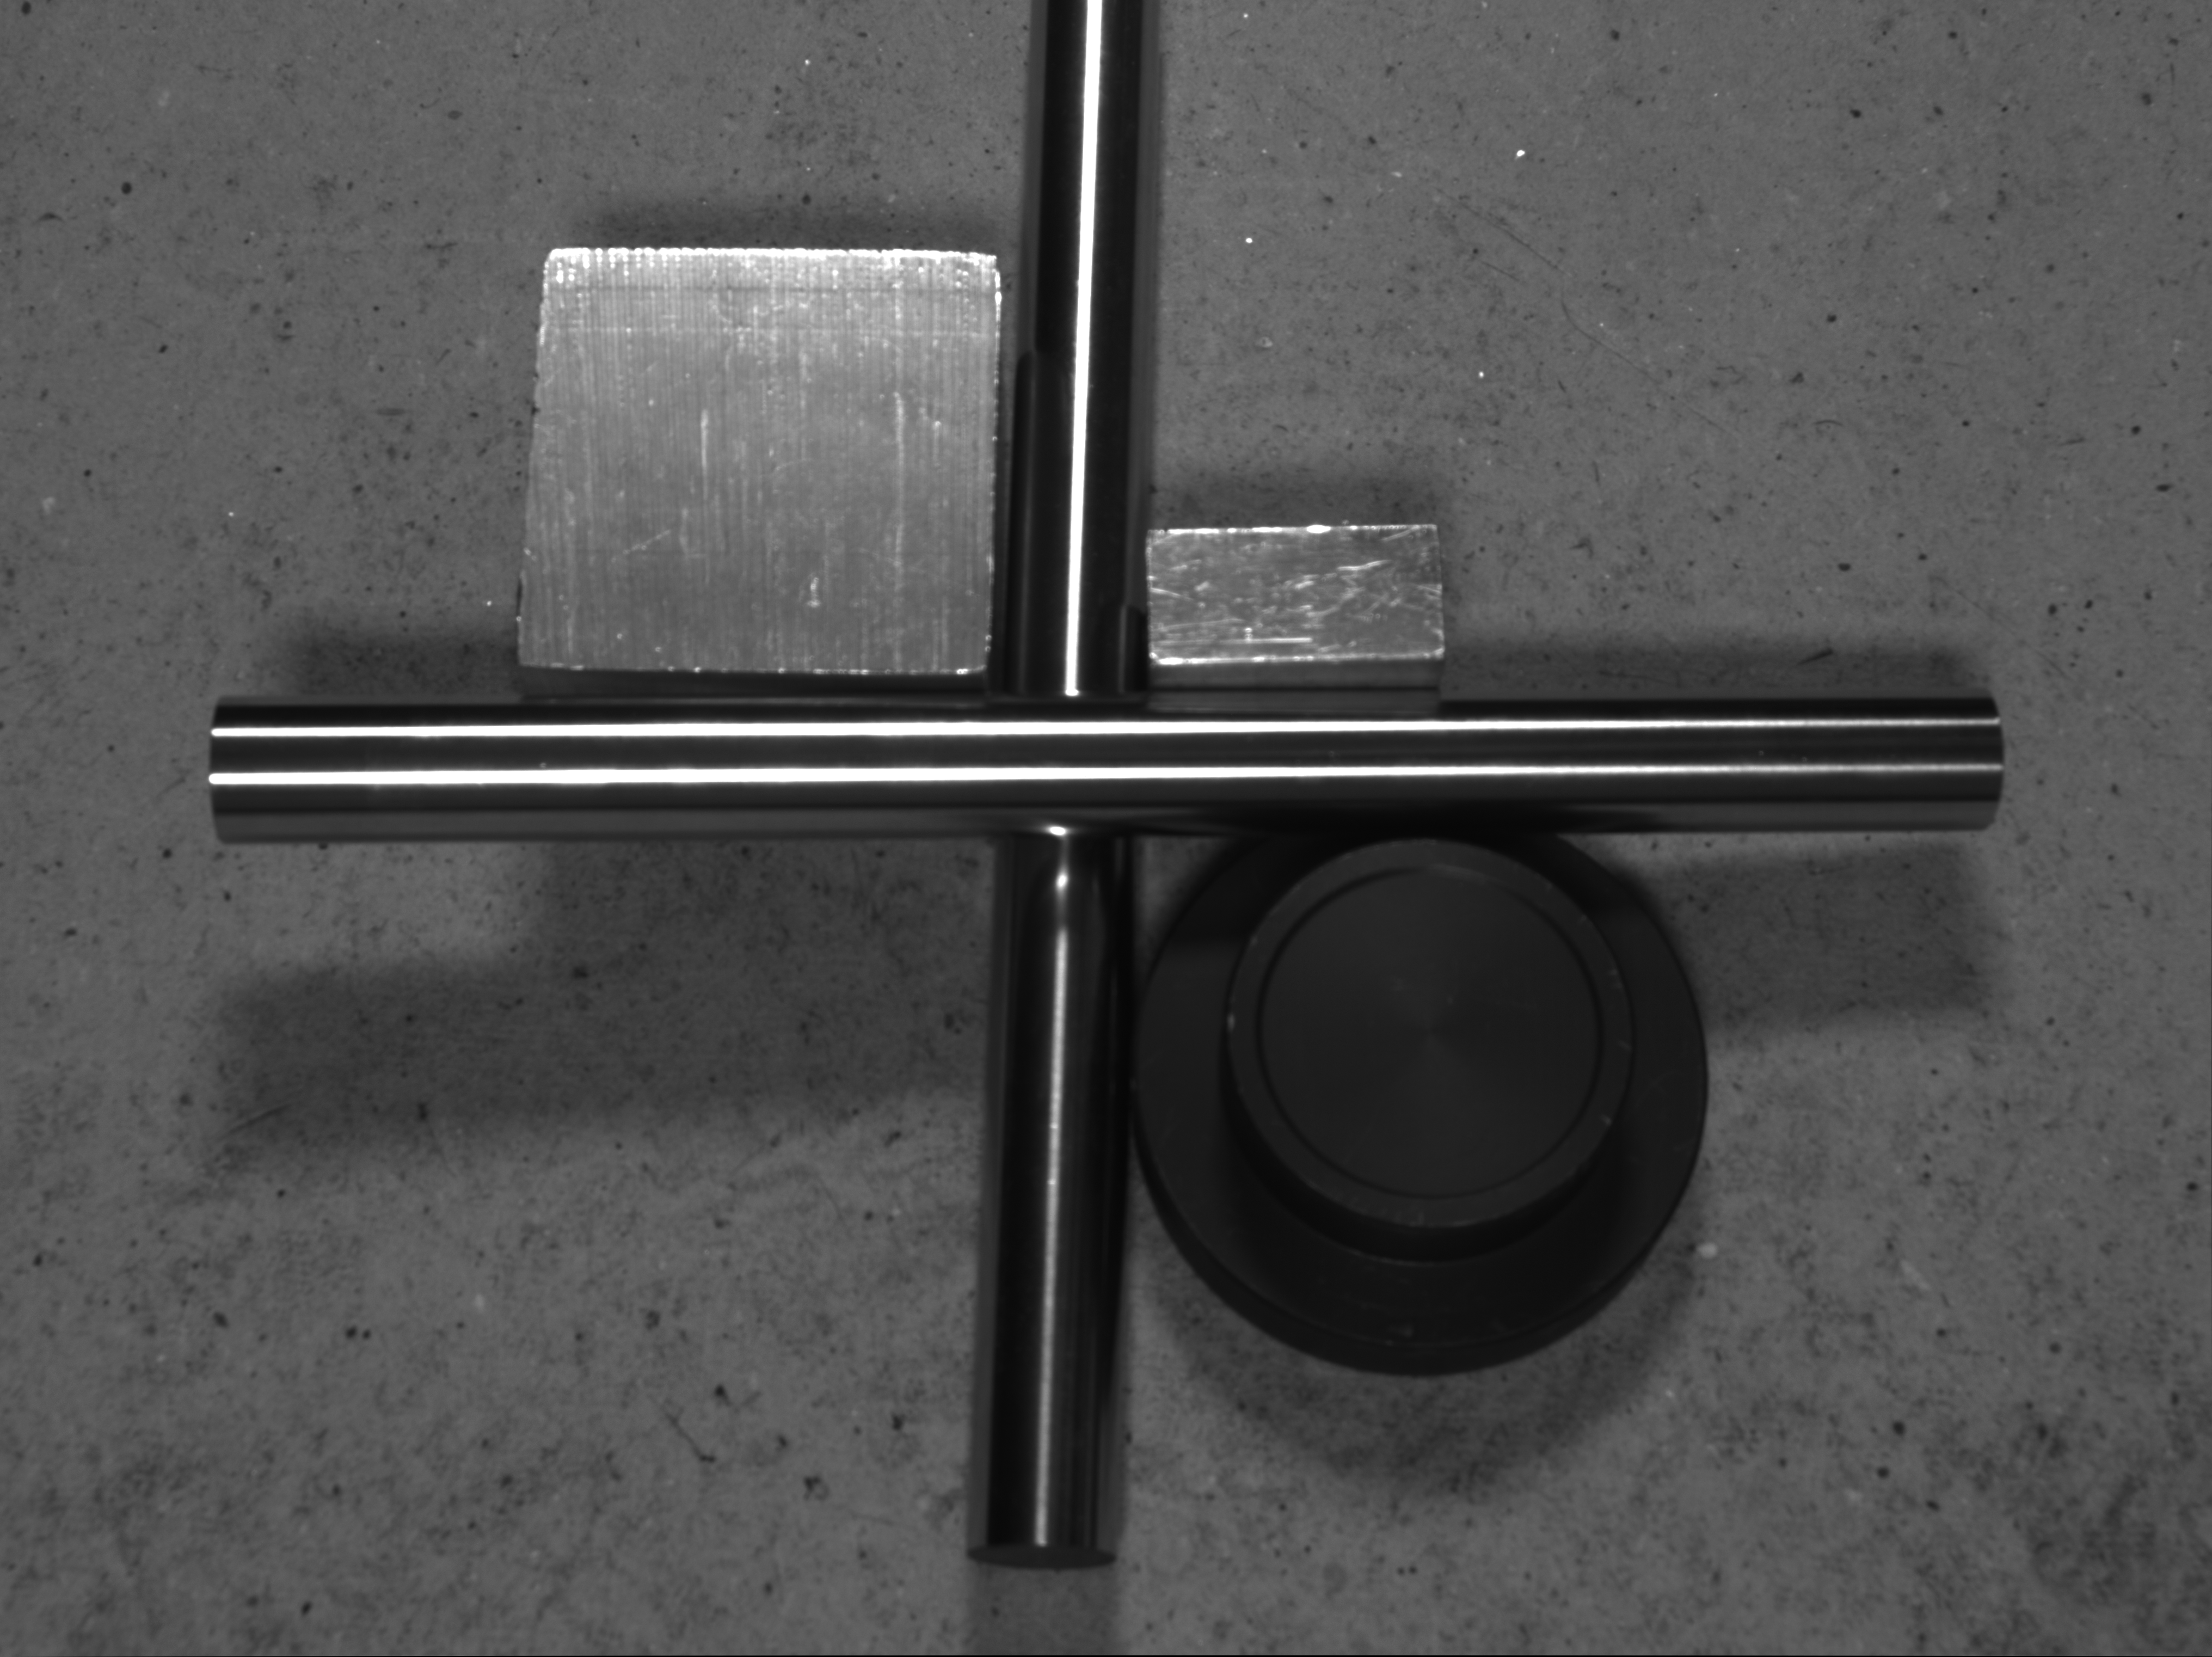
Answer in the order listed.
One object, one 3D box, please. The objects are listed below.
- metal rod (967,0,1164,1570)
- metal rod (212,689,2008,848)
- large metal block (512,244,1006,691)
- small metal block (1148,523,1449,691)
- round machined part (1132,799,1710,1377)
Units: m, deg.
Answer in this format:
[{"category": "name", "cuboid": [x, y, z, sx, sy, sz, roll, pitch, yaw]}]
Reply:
[{"category": "metal rod", "cuboid": [-0.006, -0.021, 0.653, 0.025, 0.025, 0.300, 2, 70, 1]}, {"category": "metal rod", "cuboid": [0.003, -0.010, 0.622, 0.300, 0.025, 0.025, 0, 70, -4]}, {"category": "large metal block", "cuboid": [-0.059, -0.056, 0.651, 0.080, 0.050, 0.080, 1, 70, 0]}, {"category": "small metal block", "cuboid": [0.033, -0.031, 0.643, 0.050, 0.050, 0.025, -1, 70, 0]}, {"category": "round machined part", "cuboid": [0.053, 0.040, 0.620, 0.098, 0.042, 0.098, 0, 70, 0]}]
